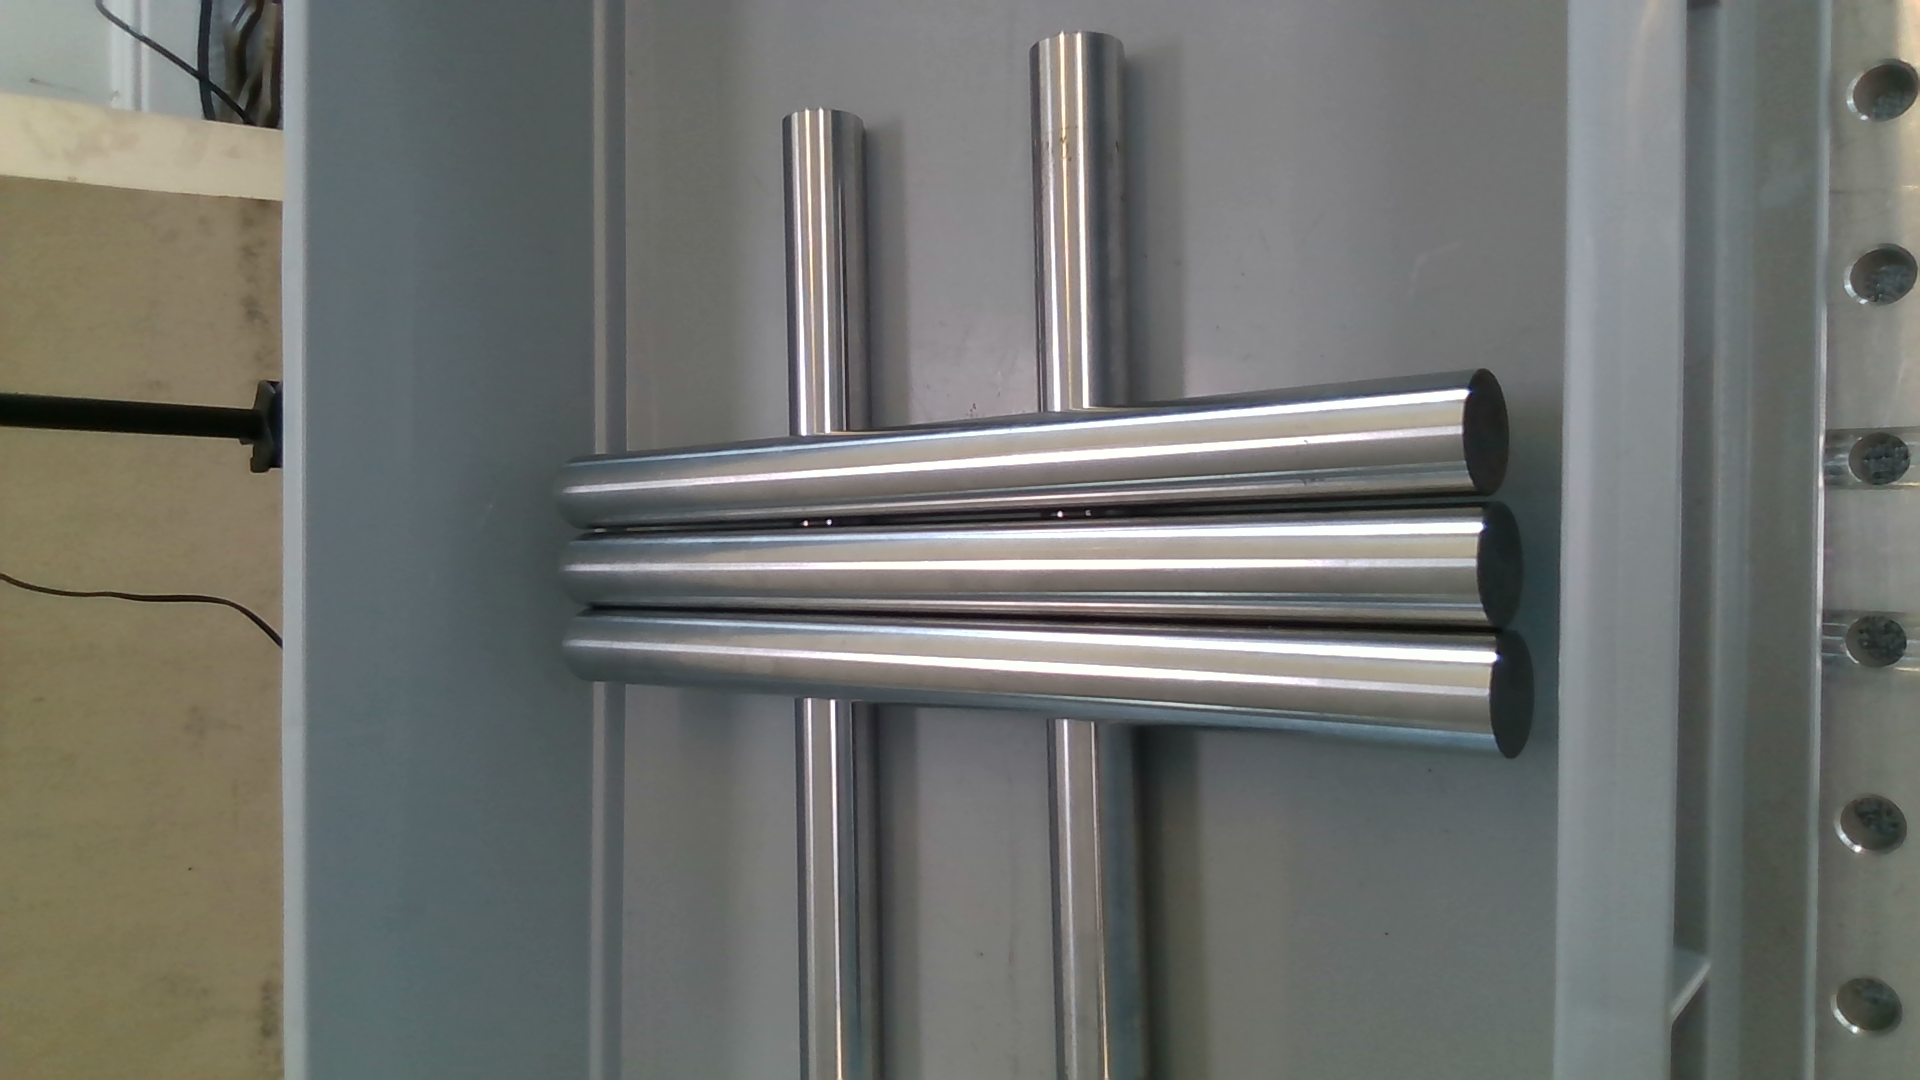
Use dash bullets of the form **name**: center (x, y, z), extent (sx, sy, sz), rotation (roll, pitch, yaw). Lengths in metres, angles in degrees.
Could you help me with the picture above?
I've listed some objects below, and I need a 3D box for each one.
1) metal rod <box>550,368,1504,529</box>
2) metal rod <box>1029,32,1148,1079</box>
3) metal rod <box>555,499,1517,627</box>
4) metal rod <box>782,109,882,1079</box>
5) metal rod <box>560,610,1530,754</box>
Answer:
- **metal rod**: center (-0.012, -0.018, 0.366), extent (0.300, 0.025, 0.025), rotation (-1, 89, 40)
- **metal rod**: center (0.034, 0.021, 0.361), extent (0.025, 0.025, 0.300), rotation (-2, 89, 40)
- **metal rod**: center (-0.010, 0.007, 0.365), extent (0.300, 0.025, 0.025), rotation (-1, 89, 40)
- **metal rod**: center (-0.039, 0.021, 0.423), extent (0.025, 0.025, 0.300), rotation (-2, 89, 40)
- **metal rod**: center (-0.008, 0.032, 0.363), extent (0.300, 0.025, 0.025), rotation (-1, 89, 40)
